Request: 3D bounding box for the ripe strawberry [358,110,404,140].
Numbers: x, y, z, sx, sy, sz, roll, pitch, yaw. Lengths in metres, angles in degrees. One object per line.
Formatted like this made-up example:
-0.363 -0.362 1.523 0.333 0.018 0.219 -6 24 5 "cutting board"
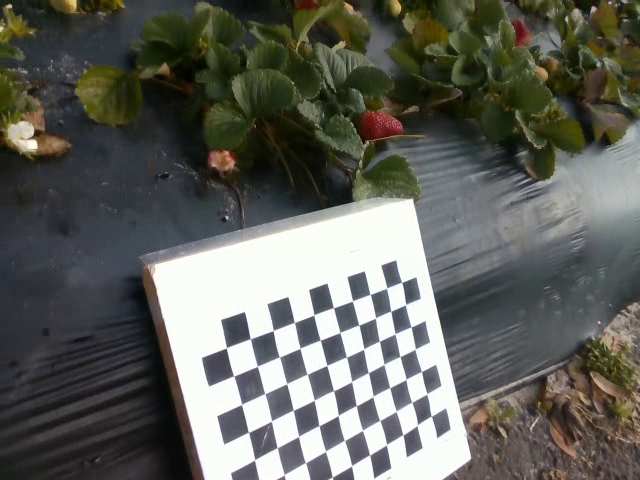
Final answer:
0.070 -0.126 0.694 0.064 0.051 0.043 26 -24 -34 "ripe strawberry"
